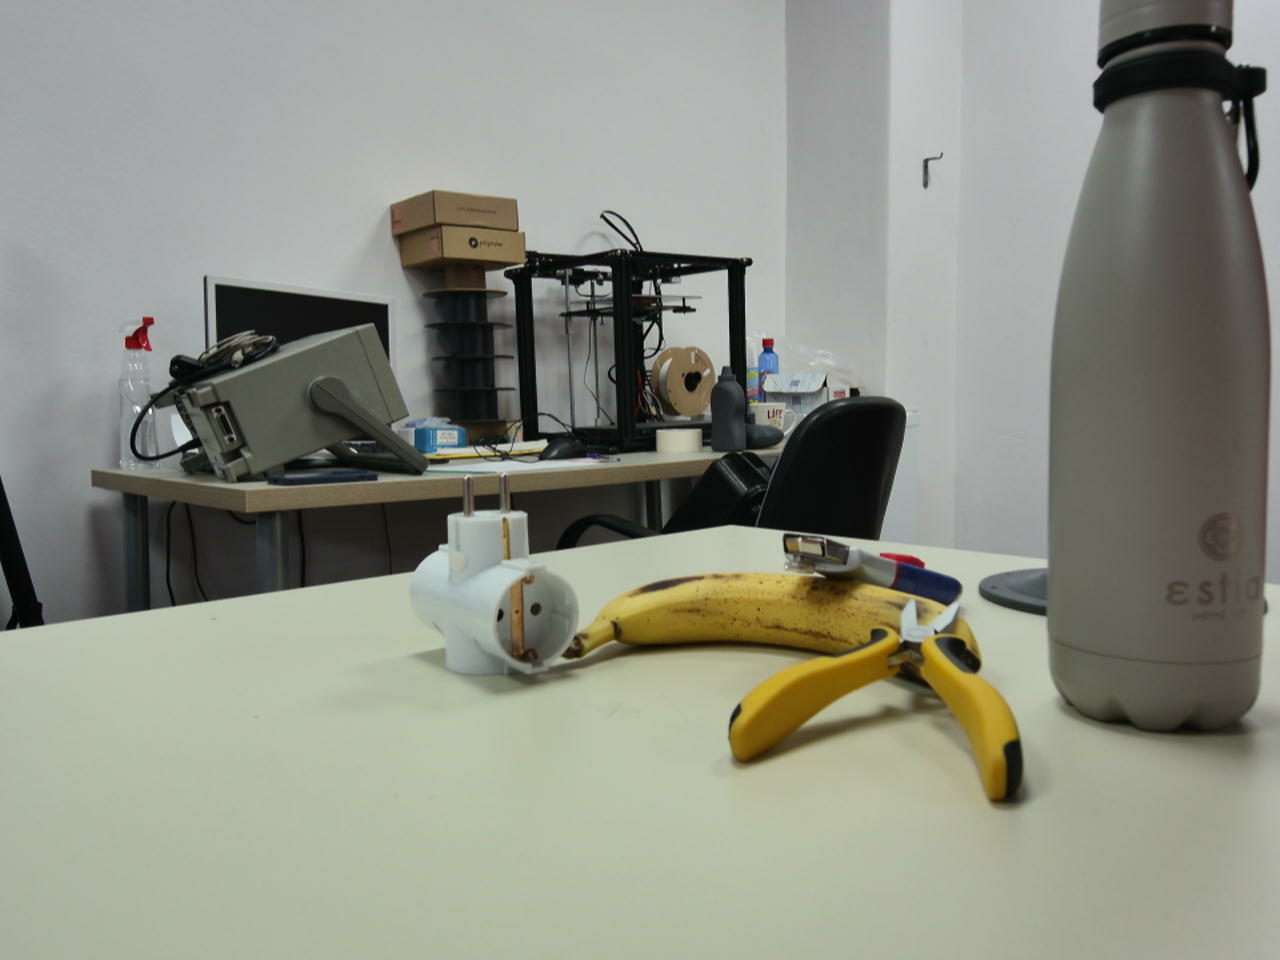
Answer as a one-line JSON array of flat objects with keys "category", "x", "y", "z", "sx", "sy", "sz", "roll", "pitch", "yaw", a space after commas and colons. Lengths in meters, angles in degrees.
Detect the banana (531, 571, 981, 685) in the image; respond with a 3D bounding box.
[{"category": "banana", "x": 0.060, "y": 0.066, "z": 0.467, "sx": 0.186, "sy": 0.038, "sz": 0.097, "roll": 2, "pitch": 3, "yaw": 22}]
